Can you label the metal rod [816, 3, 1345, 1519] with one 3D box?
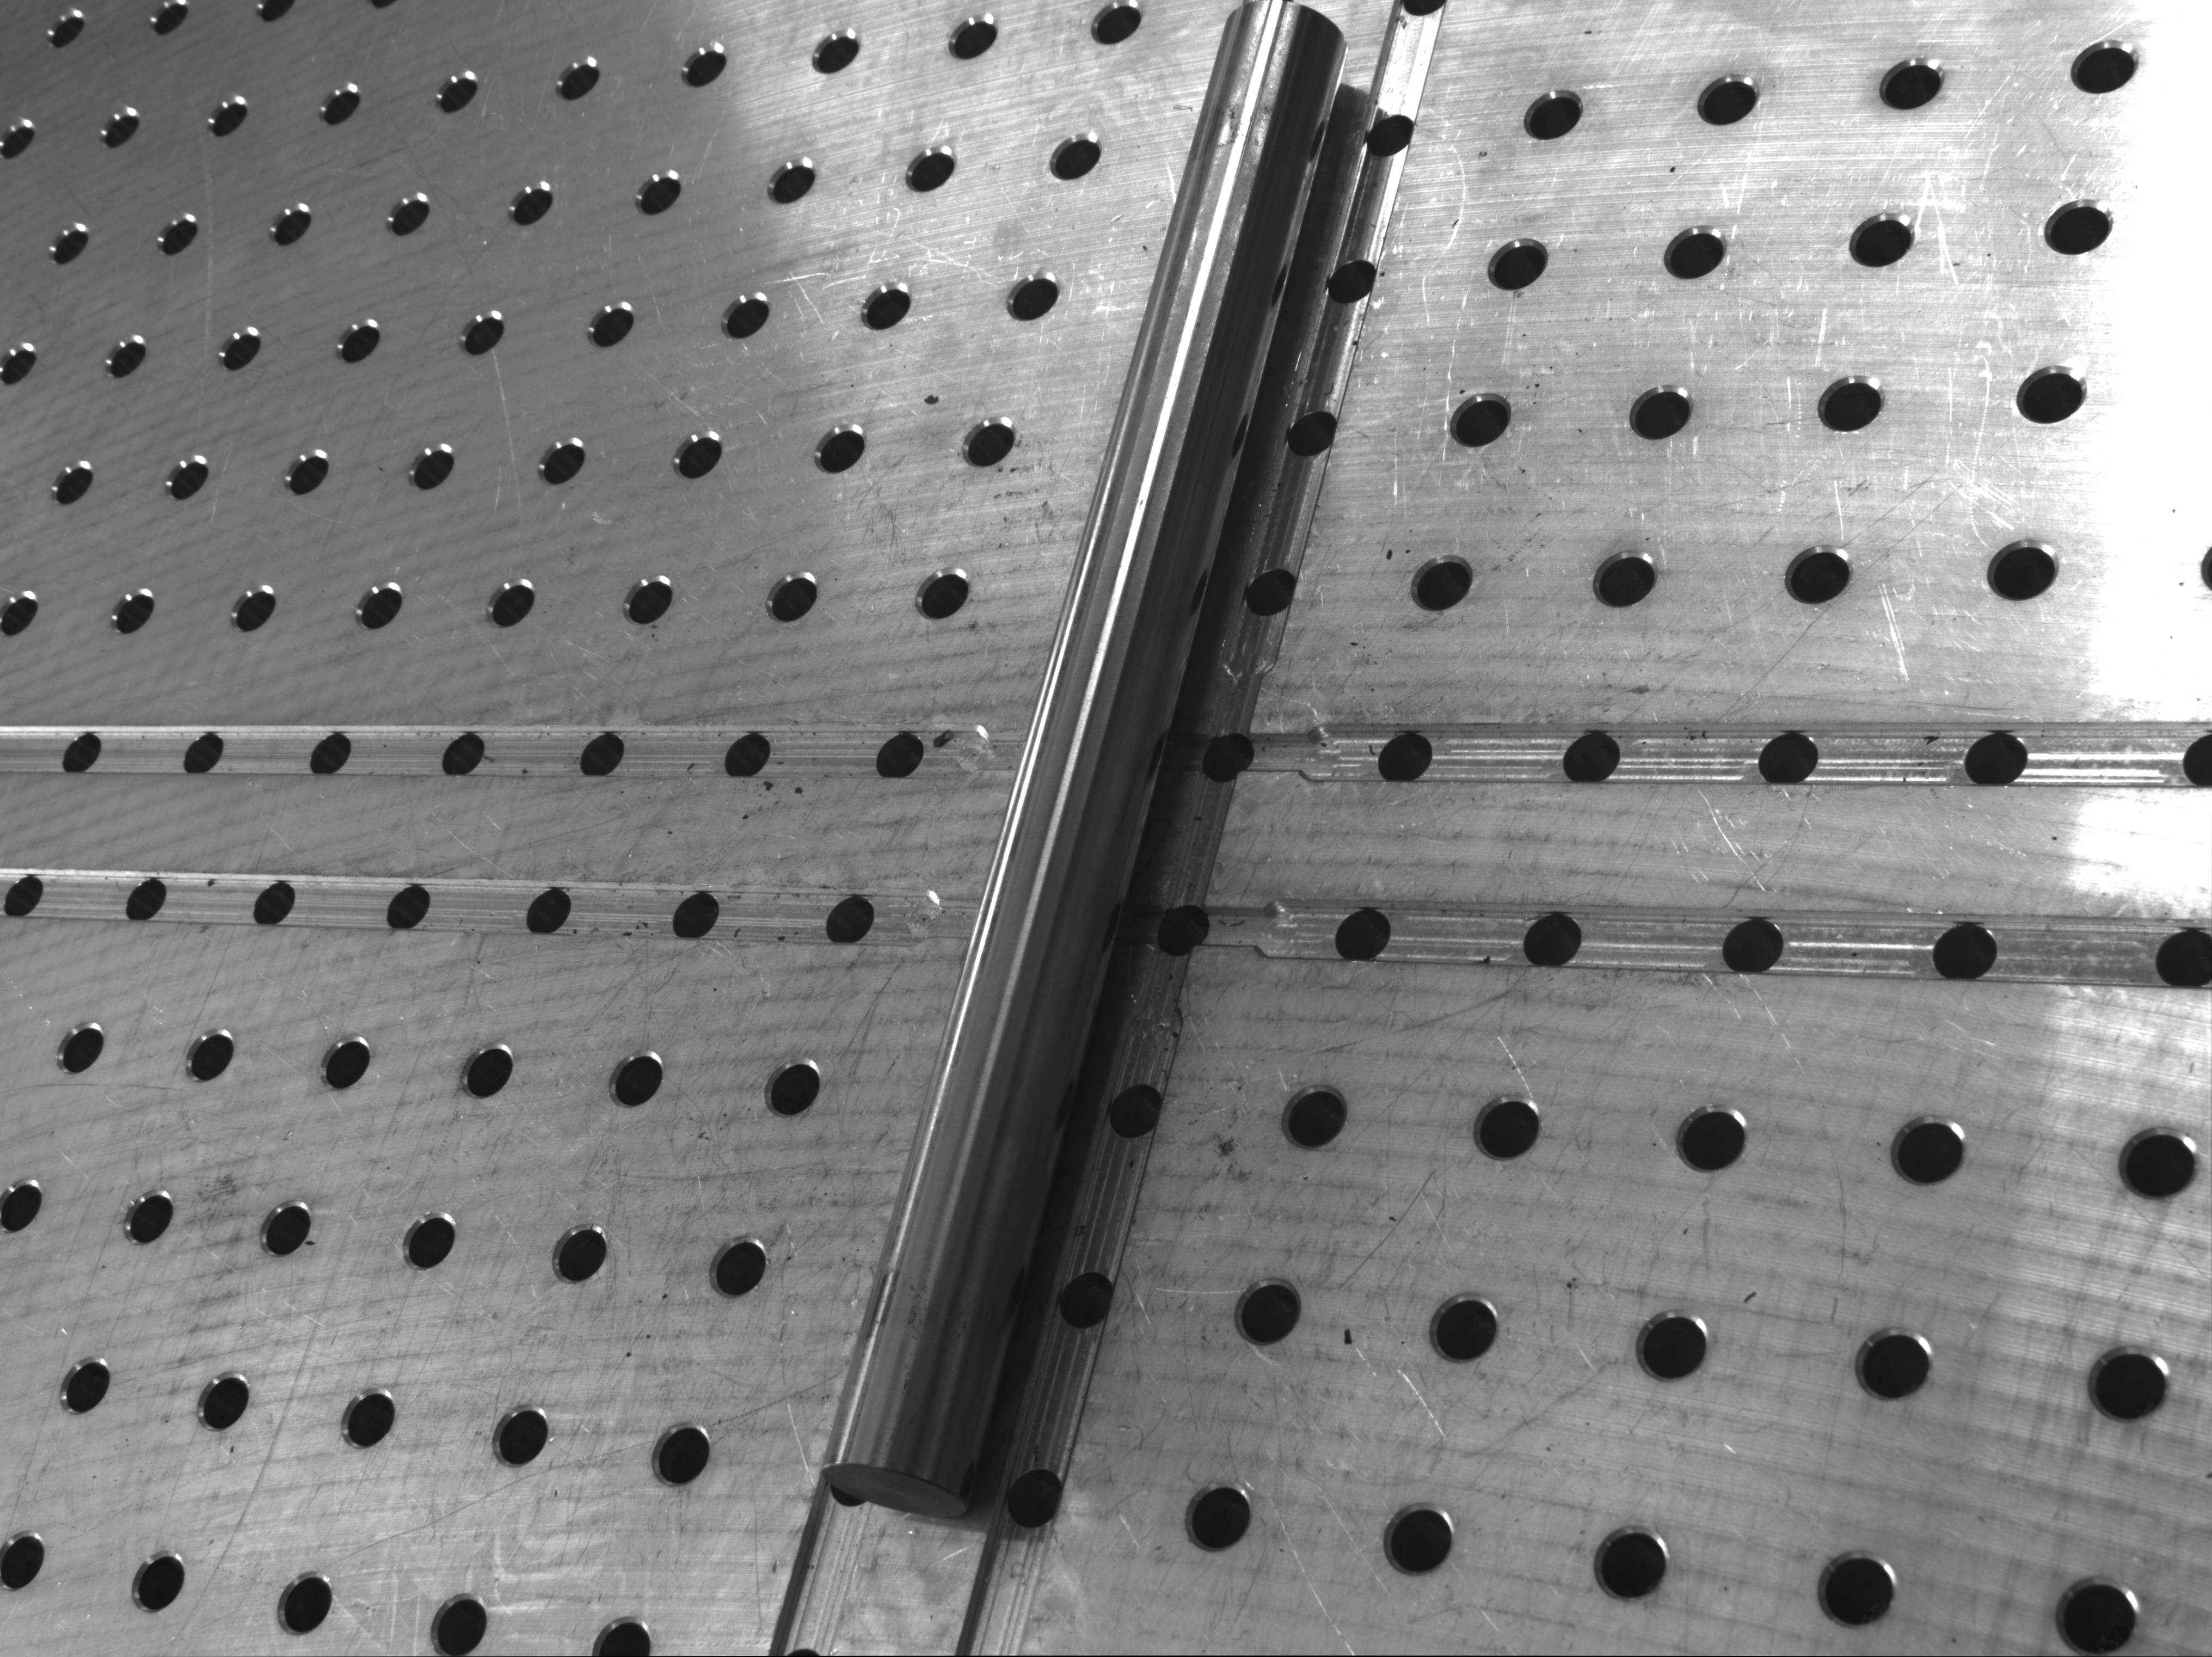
[{"bbox_3d":[0.000,-0.023,0.663,0.025,0.025,0.300,0,62,29],"label":"metal rod"}]
